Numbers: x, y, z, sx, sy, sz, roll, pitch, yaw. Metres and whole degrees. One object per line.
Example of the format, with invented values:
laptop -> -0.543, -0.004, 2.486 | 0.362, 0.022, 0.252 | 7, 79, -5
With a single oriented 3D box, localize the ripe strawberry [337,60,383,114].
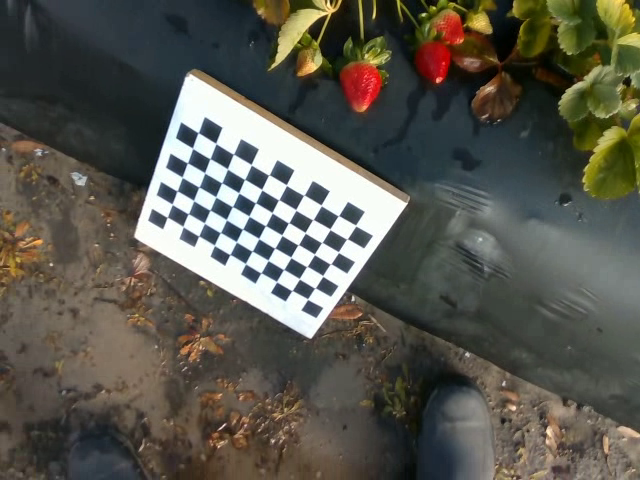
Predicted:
ripe strawberry -> 0.044, -0.167, 0.735 | 0.050, 0.065, 0.049 | -1, -23, 23

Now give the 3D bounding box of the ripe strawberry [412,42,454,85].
ripe strawberry -> 0.126, -0.194, 0.737 | 0.044, 0.055, 0.041 | -26, -30, 34
